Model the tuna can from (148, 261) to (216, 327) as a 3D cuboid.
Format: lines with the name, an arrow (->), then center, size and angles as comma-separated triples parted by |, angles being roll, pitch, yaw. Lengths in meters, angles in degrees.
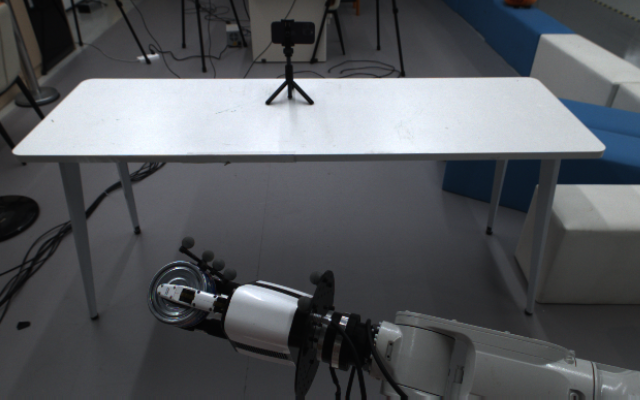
tuna can -> -0.183, 0.126, 0.646 | 0.085, 0.034, 0.085 | -4, 69, 10
